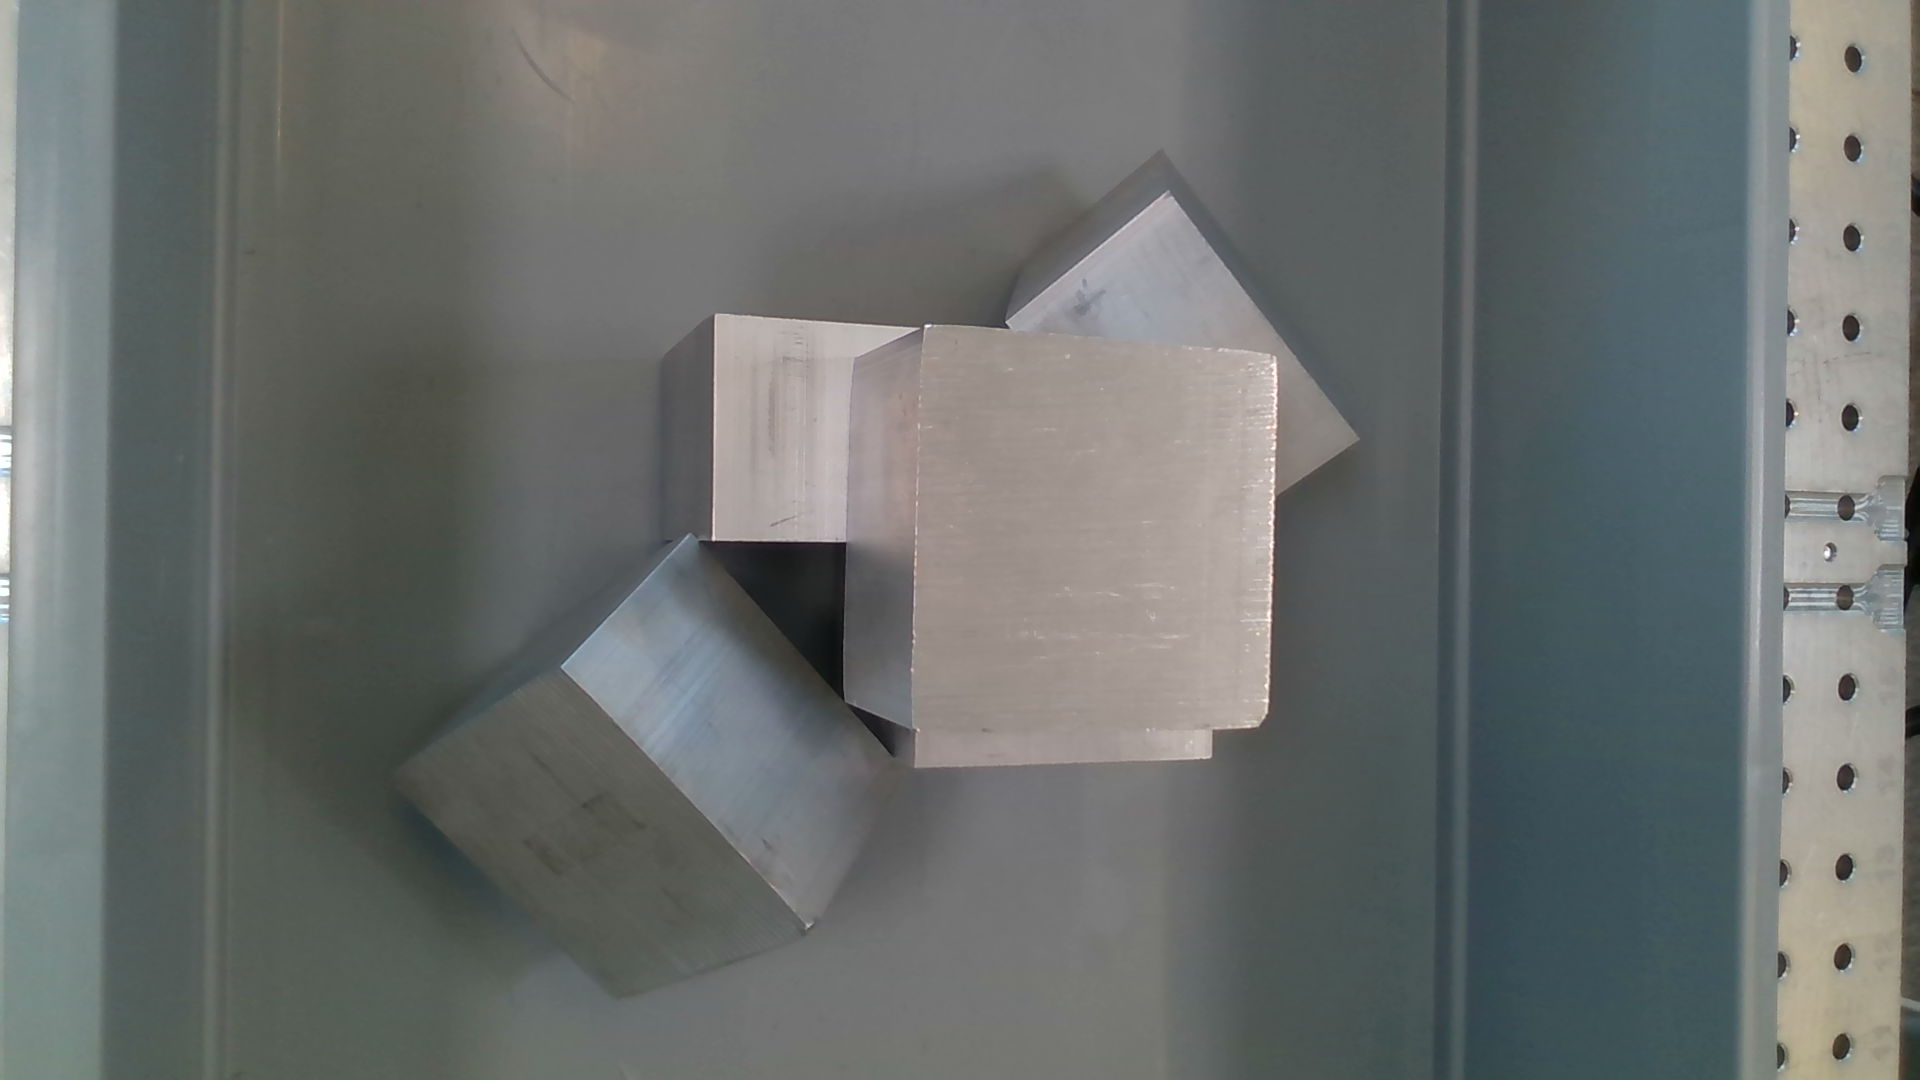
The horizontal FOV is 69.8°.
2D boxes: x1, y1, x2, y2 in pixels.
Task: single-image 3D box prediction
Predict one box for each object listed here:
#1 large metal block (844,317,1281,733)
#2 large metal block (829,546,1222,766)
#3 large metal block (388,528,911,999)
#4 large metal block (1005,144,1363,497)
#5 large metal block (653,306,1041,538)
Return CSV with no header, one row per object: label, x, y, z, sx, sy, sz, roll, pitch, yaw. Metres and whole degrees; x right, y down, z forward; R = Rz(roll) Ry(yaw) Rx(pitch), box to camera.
large metal block,0.021,-0.002,0.302,0.080,0.050,0.080,2,89,-20
large metal block,0.014,0.028,0.368,0.080,0.080,0.050,1,90,-21
large metal block,-0.074,0.056,0.329,0.080,0.080,0.050,50,39,-13
large metal block,0.060,-0.055,0.378,0.050,0.080,0.080,-36,105,19
large metal block,-0.032,-0.025,0.352,0.080,0.080,0.050,1,90,-21
